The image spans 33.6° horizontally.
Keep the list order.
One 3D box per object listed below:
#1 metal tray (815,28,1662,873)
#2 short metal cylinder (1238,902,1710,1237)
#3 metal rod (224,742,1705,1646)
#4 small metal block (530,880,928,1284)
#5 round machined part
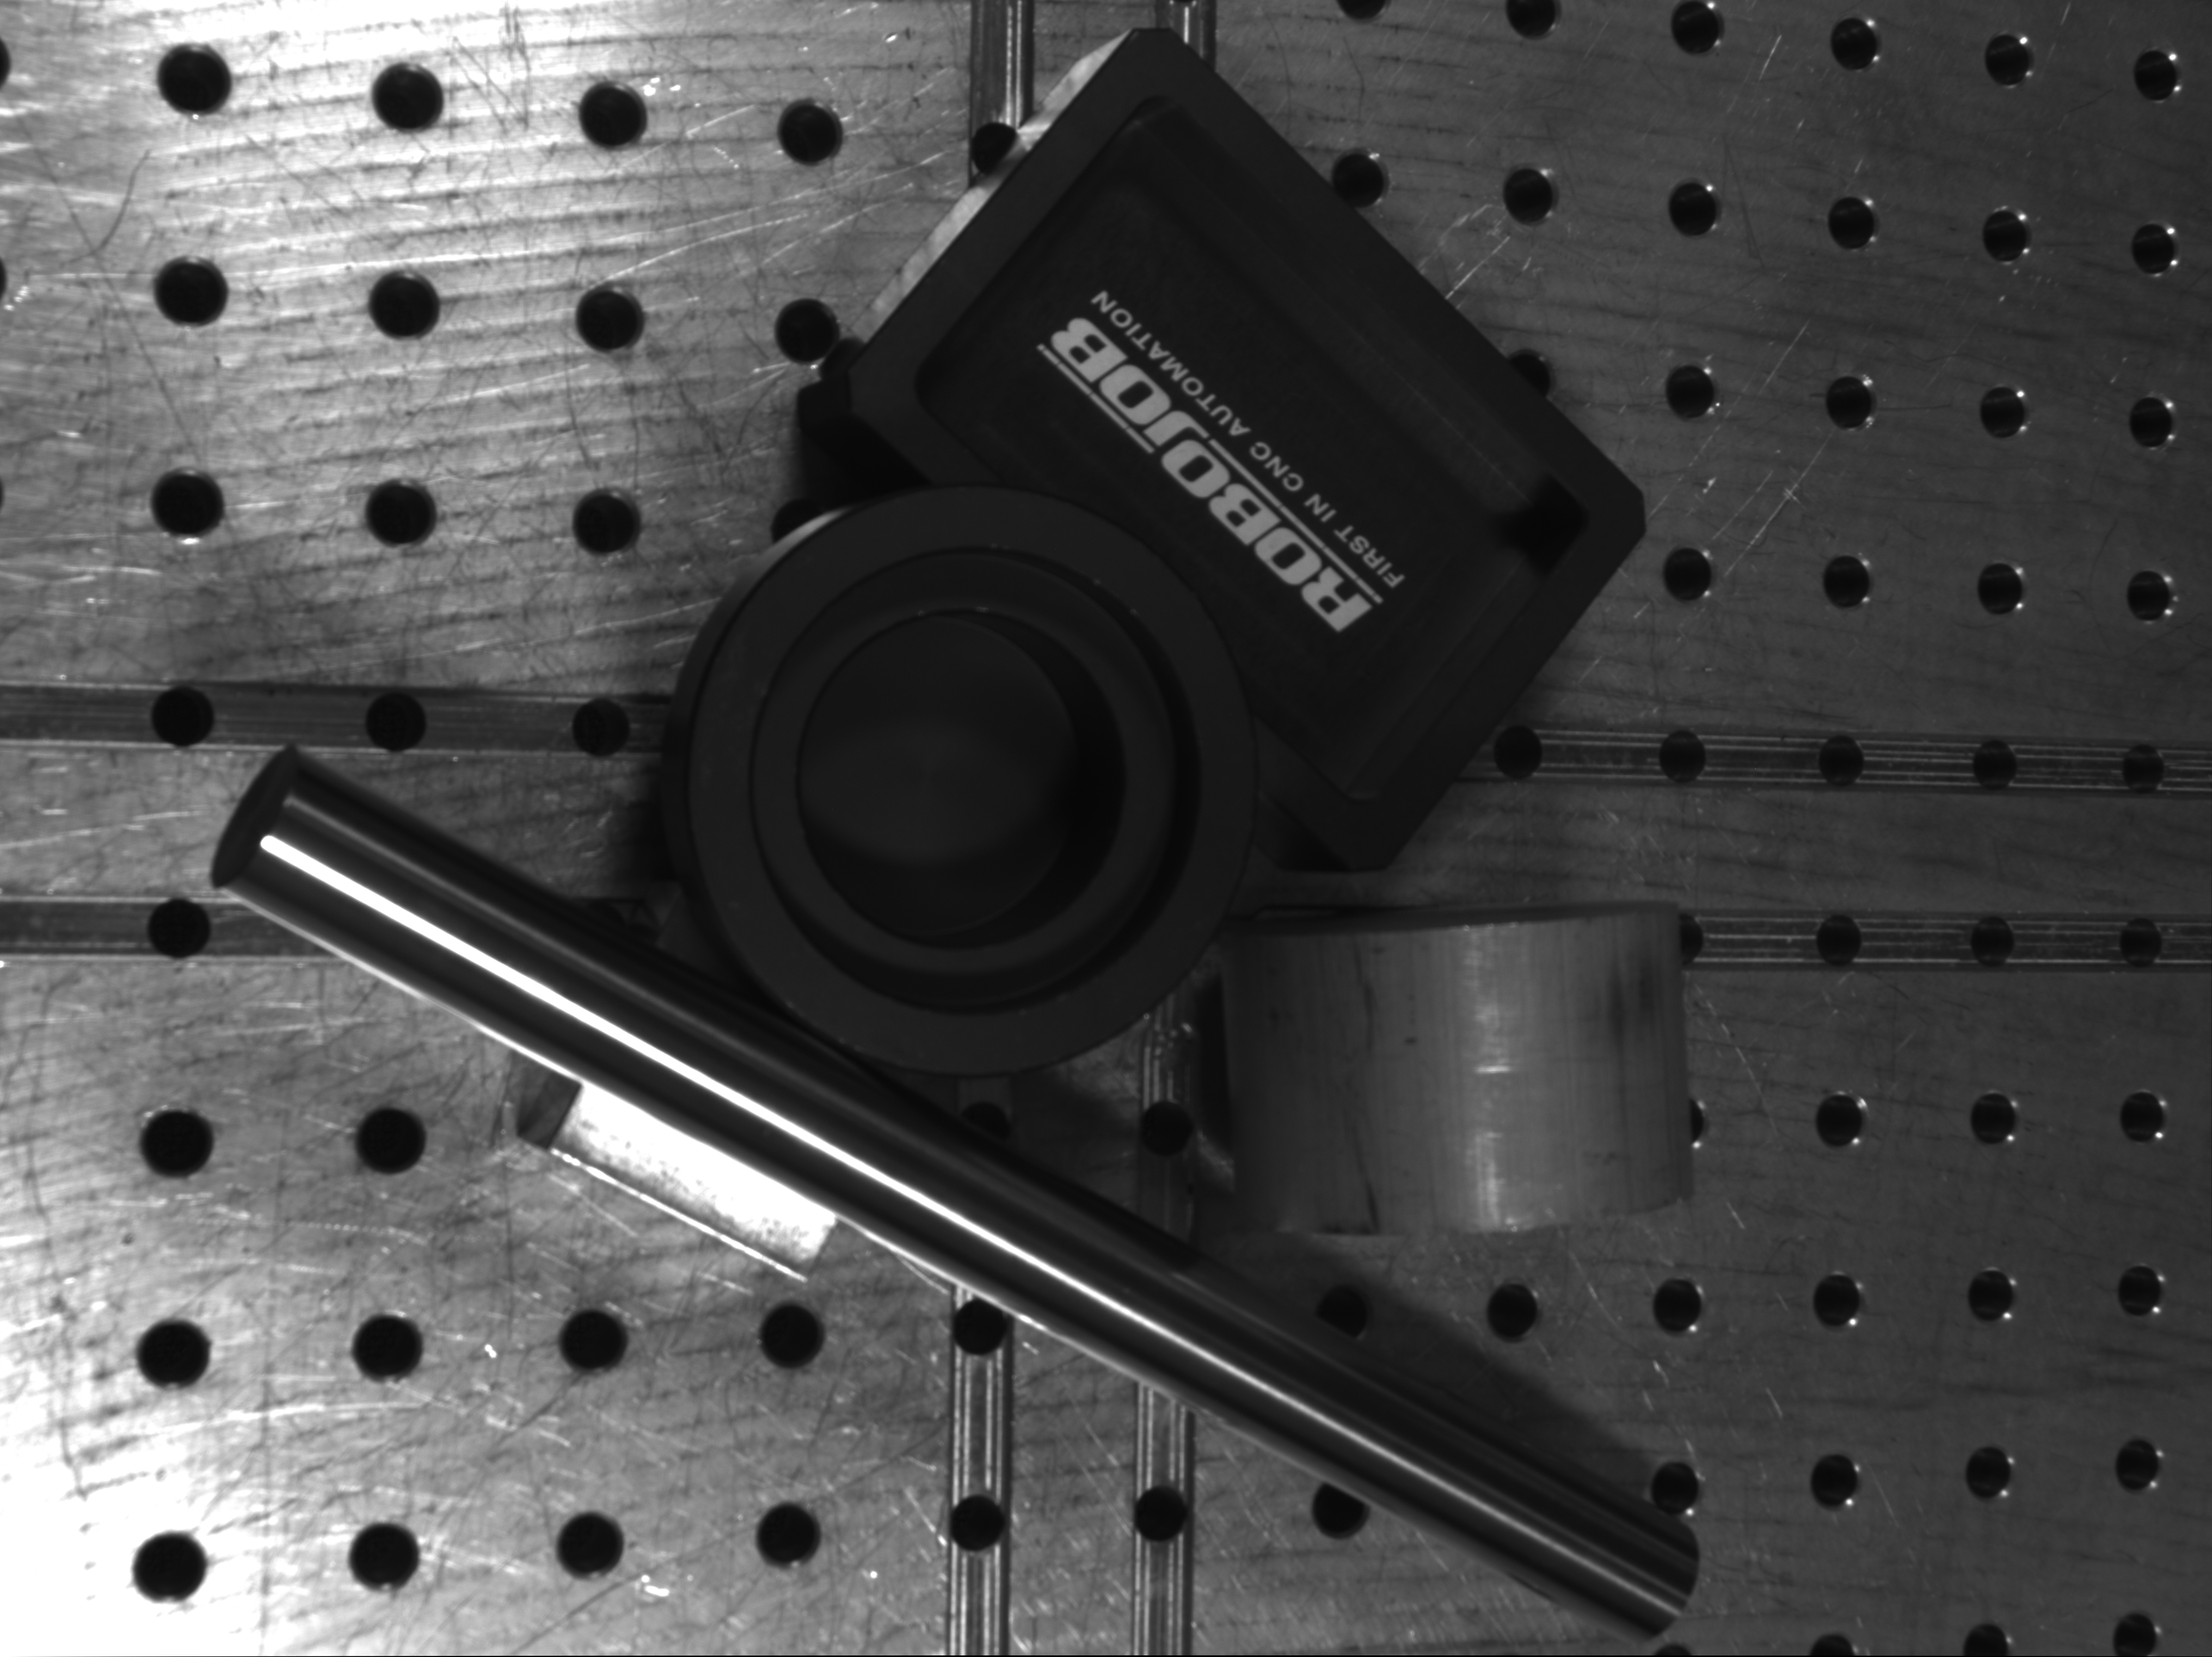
[{"bbox_3d":[0.025,-0.065,0.651,0.130,0.030,0.090,42,76,-15],"label":"metal tray"},{"bbox_3d":[0.064,0.040,0.638,0.080,0.080,0.050,-4,91,-20],"label":"short metal cylinder"},{"bbox_3d":[-0.012,0.069,0.620,0.301,0.025,0.025,32,79,-26],"label":"metal rod"},{"bbox_3d":[-0.062,0.043,0.624,0.050,0.025,0.050,30,80,-17],"label":"small metal block"},{"bbox_3d":[-0.024,-0.009,0.620,0.098,0.042,0.098,0,90,-18],"label":"round machined part"}]
